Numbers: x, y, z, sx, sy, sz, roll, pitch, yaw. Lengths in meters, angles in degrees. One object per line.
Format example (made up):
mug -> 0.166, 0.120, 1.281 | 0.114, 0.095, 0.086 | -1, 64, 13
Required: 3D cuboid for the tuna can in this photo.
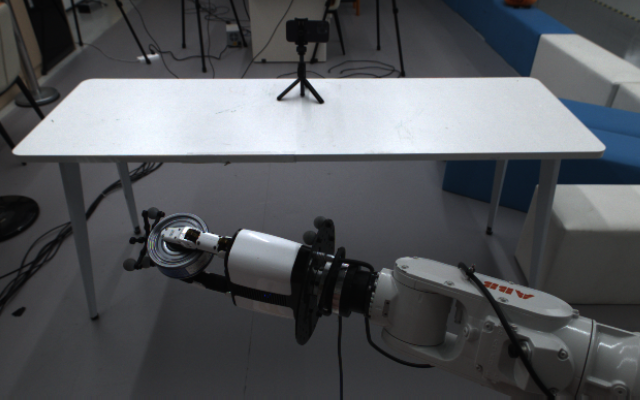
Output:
tuna can -> -0.184, 0.064, 0.648 | 0.085, 0.034, 0.085 | -2, 59, 3
